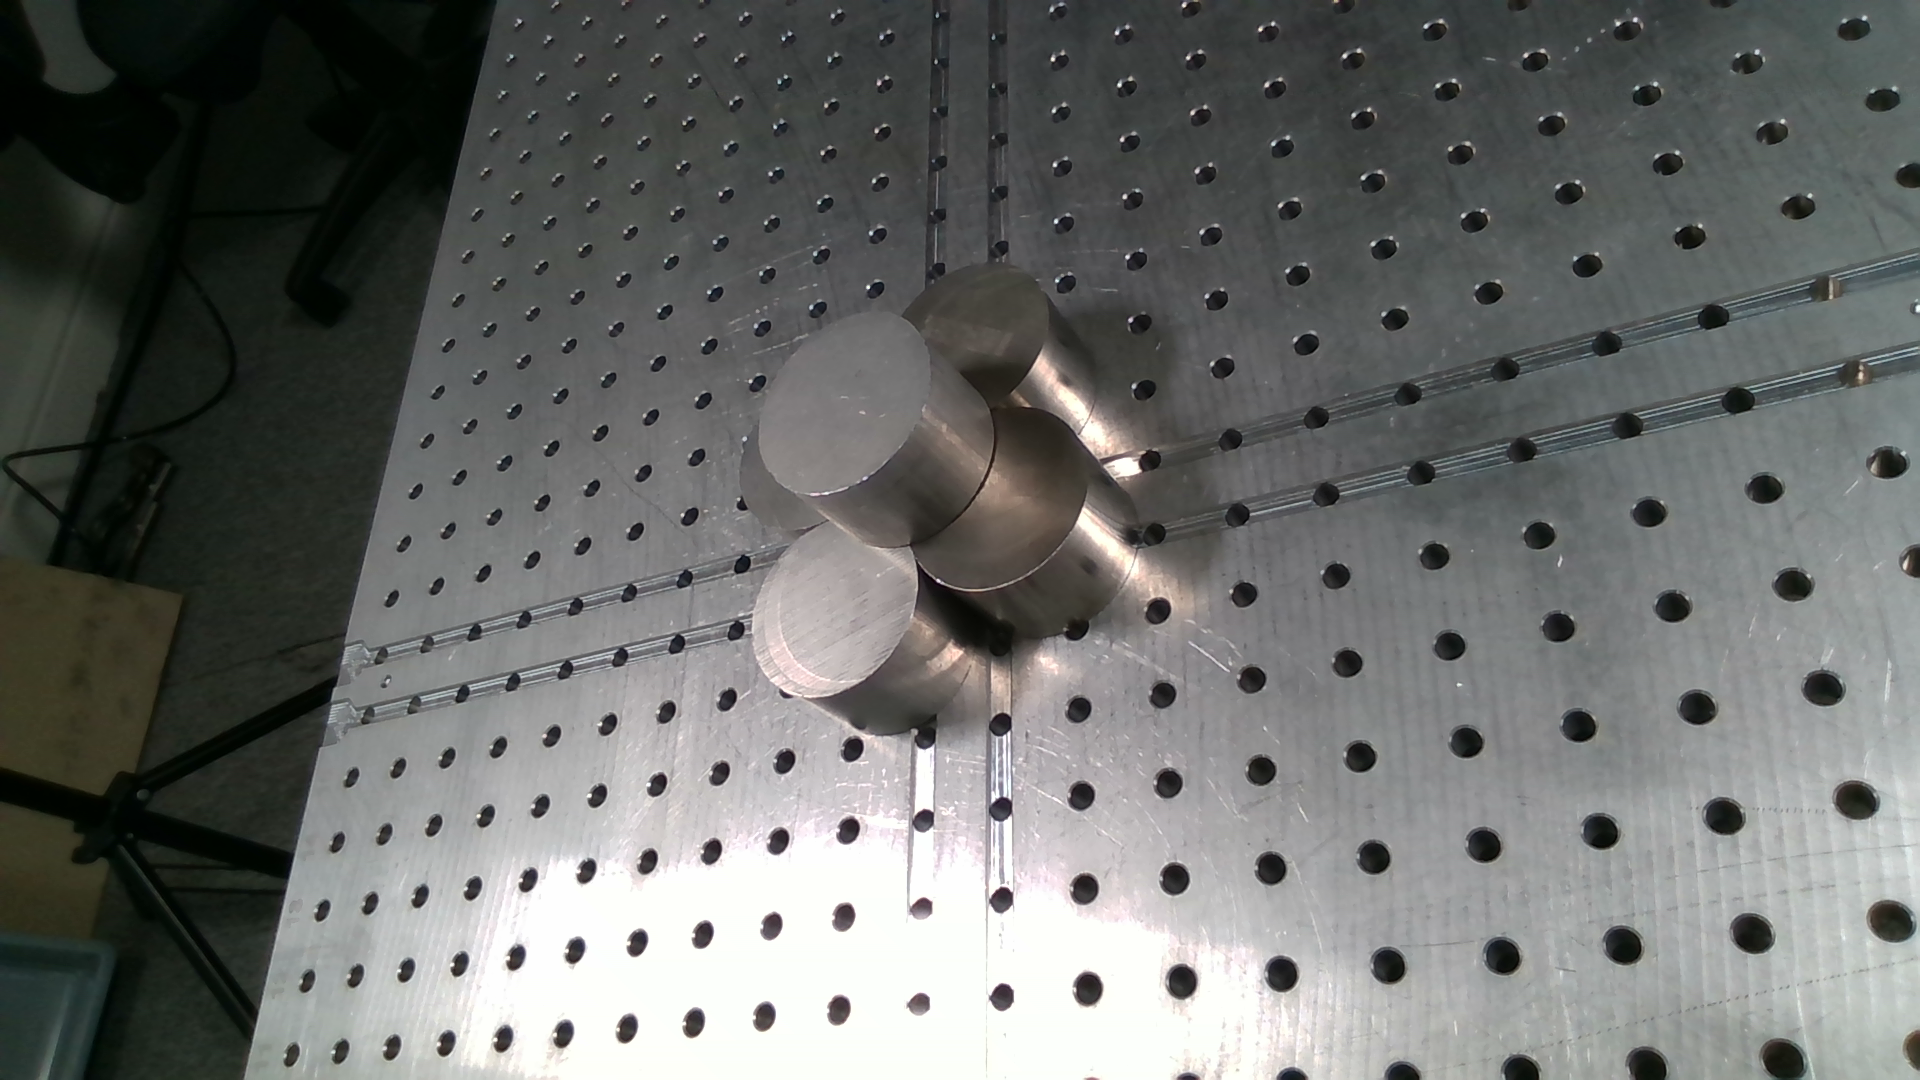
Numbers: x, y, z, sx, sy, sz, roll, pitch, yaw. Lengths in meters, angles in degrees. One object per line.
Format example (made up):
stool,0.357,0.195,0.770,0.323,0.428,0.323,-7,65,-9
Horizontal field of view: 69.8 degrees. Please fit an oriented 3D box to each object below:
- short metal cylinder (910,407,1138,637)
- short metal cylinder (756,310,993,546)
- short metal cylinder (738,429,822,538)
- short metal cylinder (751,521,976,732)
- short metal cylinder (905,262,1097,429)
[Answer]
short metal cylinder,0.026,-0.007,0.559,0.080,0.050,0.080,-14,59,25
short metal cylinder,-0.034,-0.044,0.550,0.080,0.050,0.080,-15,59,26
short metal cylinder,-0.052,-0.030,0.620,0.080,0.050,0.080,-14,59,25
short metal cylinder,-0.040,0.036,0.577,0.080,0.050,0.080,-14,59,25
short metal cylinder,0.013,-0.074,0.602,0.080,0.050,0.080,-14,59,25
